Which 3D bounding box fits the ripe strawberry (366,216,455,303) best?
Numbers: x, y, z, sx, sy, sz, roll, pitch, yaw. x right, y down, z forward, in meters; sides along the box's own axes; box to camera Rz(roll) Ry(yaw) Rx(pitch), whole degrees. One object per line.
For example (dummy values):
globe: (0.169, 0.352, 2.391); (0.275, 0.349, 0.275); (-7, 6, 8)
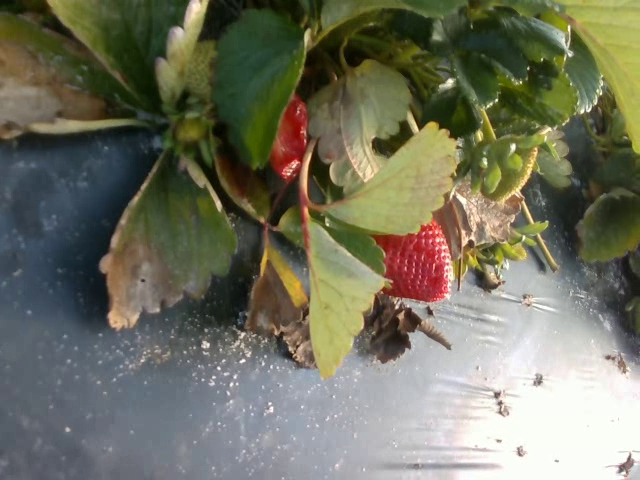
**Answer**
ripe strawberry: (0.026, 0.007, 0.185); (0.031, 0.030, 0.025); (-32, -5, -31)
